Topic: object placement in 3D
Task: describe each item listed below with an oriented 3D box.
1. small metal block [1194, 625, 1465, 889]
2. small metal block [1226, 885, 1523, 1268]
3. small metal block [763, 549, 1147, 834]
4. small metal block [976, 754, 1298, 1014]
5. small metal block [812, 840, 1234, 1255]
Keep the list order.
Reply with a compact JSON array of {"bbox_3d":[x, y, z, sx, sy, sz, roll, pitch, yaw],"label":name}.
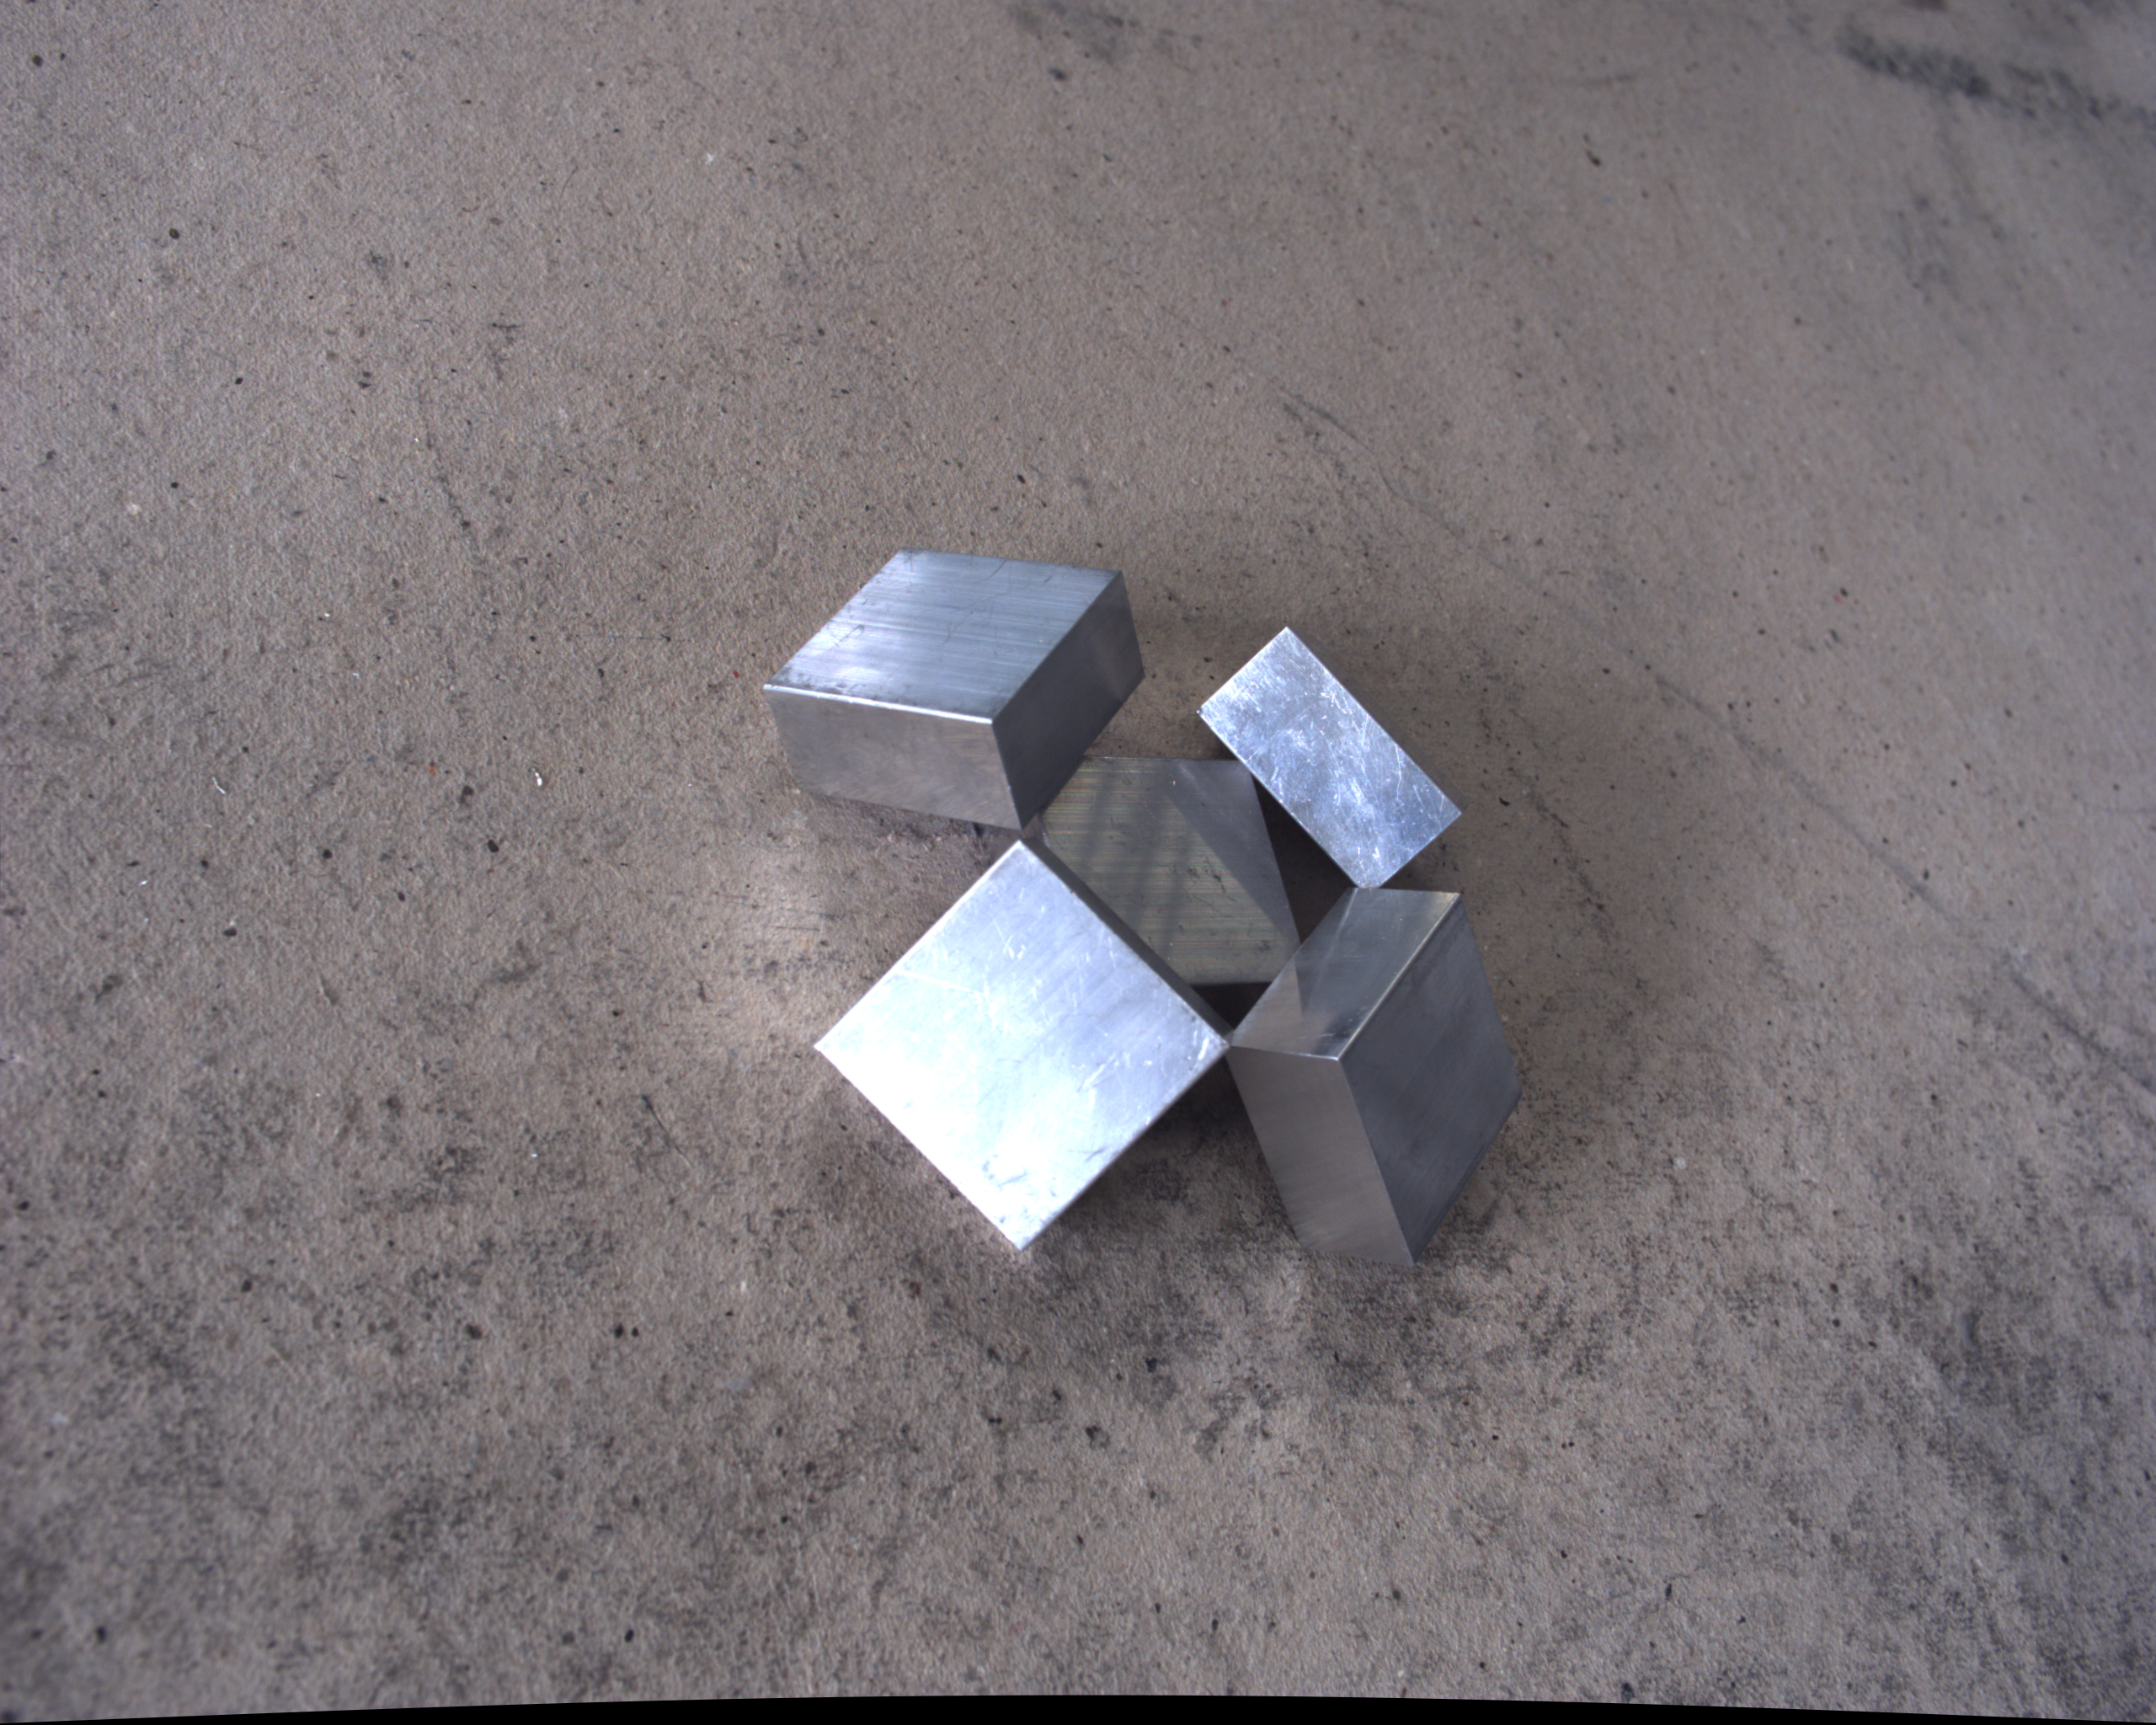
[{"bbox_3d":[0.053,-0.021,0.431,0.050,0.025,0.050,48,11,5],"label":"small metal block"},{"bbox_3d":[0.057,0.040,0.396,0.050,0.025,0.050,-47,127,-39],"label":"small metal block"},{"bbox_3d":[-0.022,-0.034,0.398,0.050,0.025,0.050,10,44,29],"label":"small metal block"},{"bbox_3d":[0.012,0.007,0.407,0.050,0.025,0.050,0,62,-30],"label":"small metal block"},{"bbox_3d":[-0.009,0.031,0.364,0.050,0.025,0.050,45,95,3],"label":"small metal block"}]
